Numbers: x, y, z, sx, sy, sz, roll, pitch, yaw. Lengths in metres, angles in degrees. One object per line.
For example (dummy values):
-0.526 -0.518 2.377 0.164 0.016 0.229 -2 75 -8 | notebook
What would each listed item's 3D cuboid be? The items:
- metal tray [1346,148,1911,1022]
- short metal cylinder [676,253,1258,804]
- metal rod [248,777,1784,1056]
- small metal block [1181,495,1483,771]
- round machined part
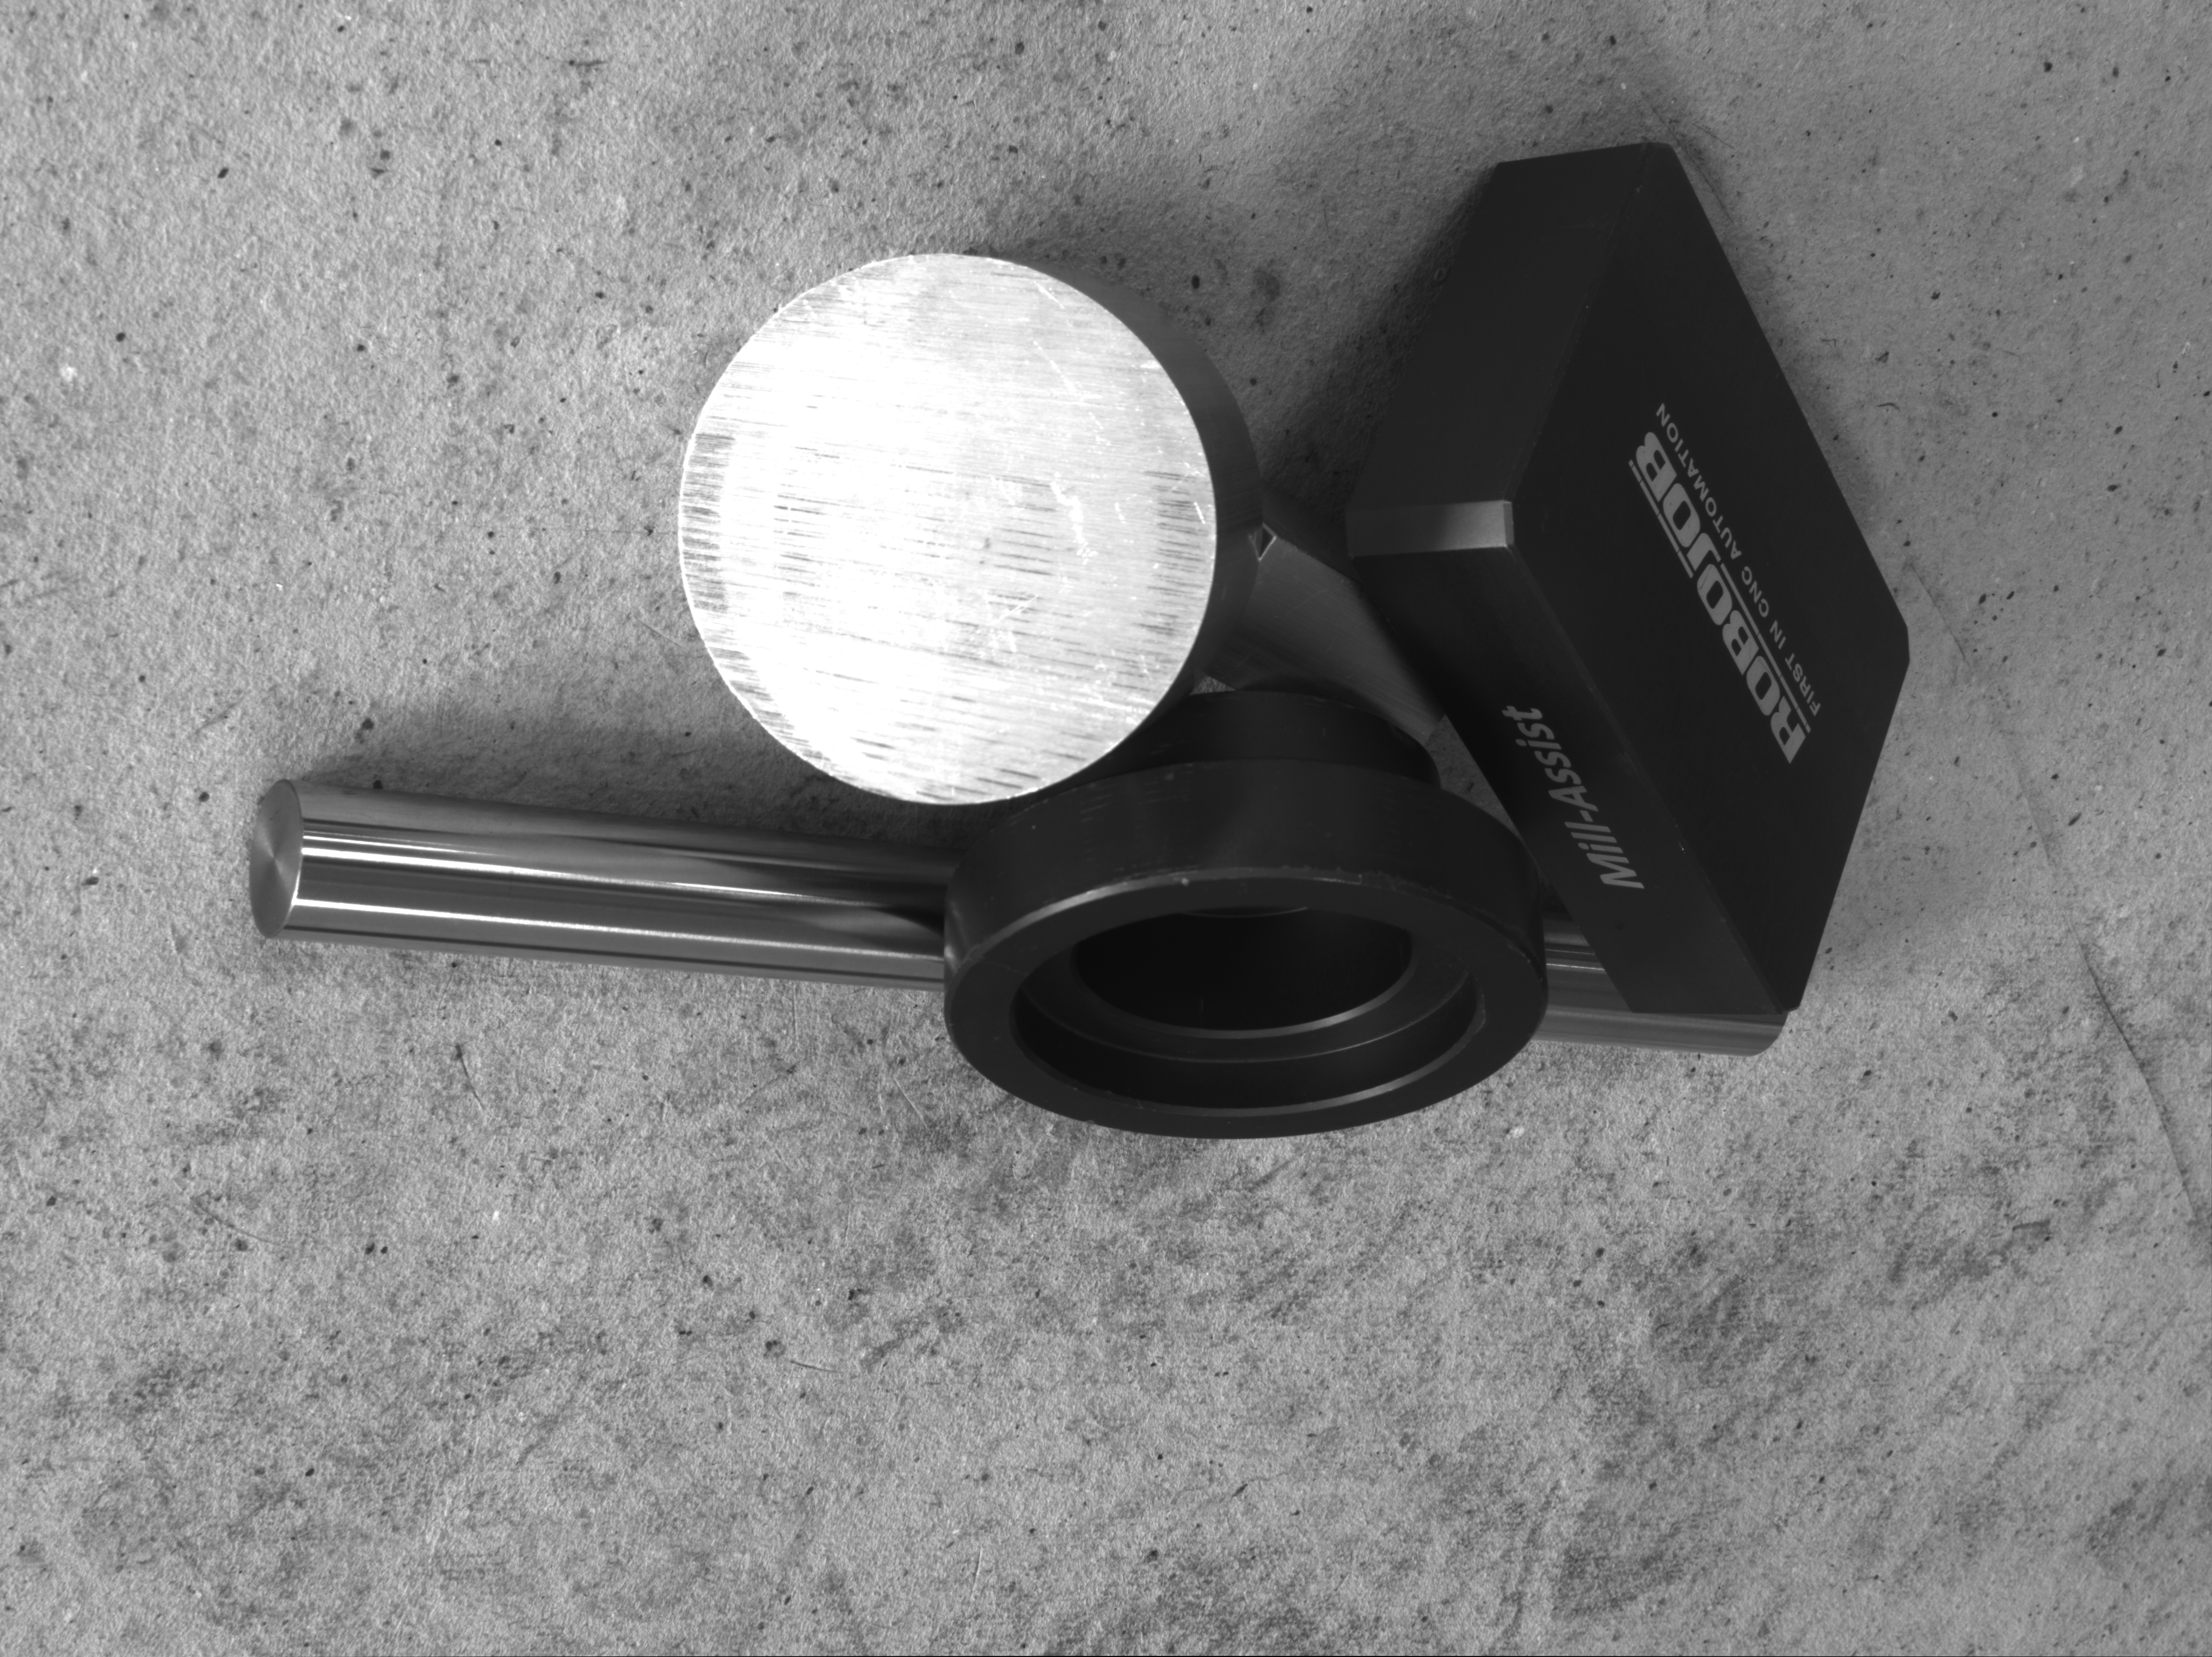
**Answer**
0.093 -0.039 0.628 0.130 0.030 0.090 54 48 -39 | metal tray
-0.019 -0.047 0.558 0.080 0.050 0.080 1 98 10 | short metal cylinder
-0.001 0.018 0.649 0.301 0.025 0.025 6 115 -31 | metal rod
0.028 -0.037 0.612 0.050 0.050 0.025 26 104 -37 | small metal block
0.022 0.012 0.607 0.098 0.042 0.098 -1 151 -1 | round machined part
